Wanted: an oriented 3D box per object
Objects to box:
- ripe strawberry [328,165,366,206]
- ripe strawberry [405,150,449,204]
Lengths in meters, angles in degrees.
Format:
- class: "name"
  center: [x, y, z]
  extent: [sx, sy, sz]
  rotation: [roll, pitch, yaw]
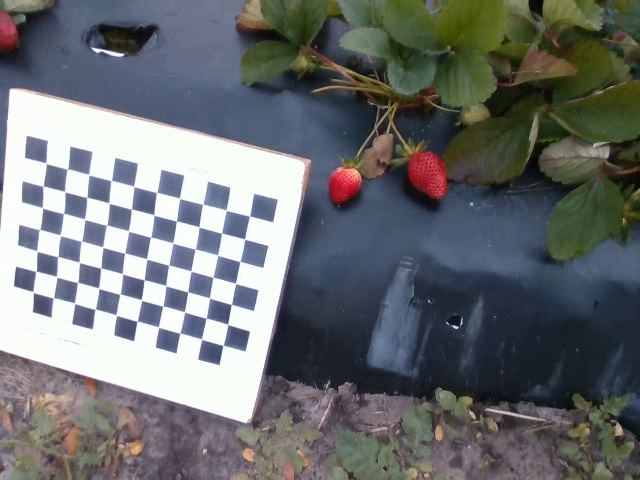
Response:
- class: "ripe strawberry"
  center: [0.023, -0.054, 0.572]
  extent: [0.036, 0.041, 0.028]
  rotation: [16, -3, 16]
- class: "ripe strawberry"
  center: [0.102, -0.062, 0.568]
  extent: [0.044, 0.059, 0.042]
  rotation: [-33, -18, 26]
